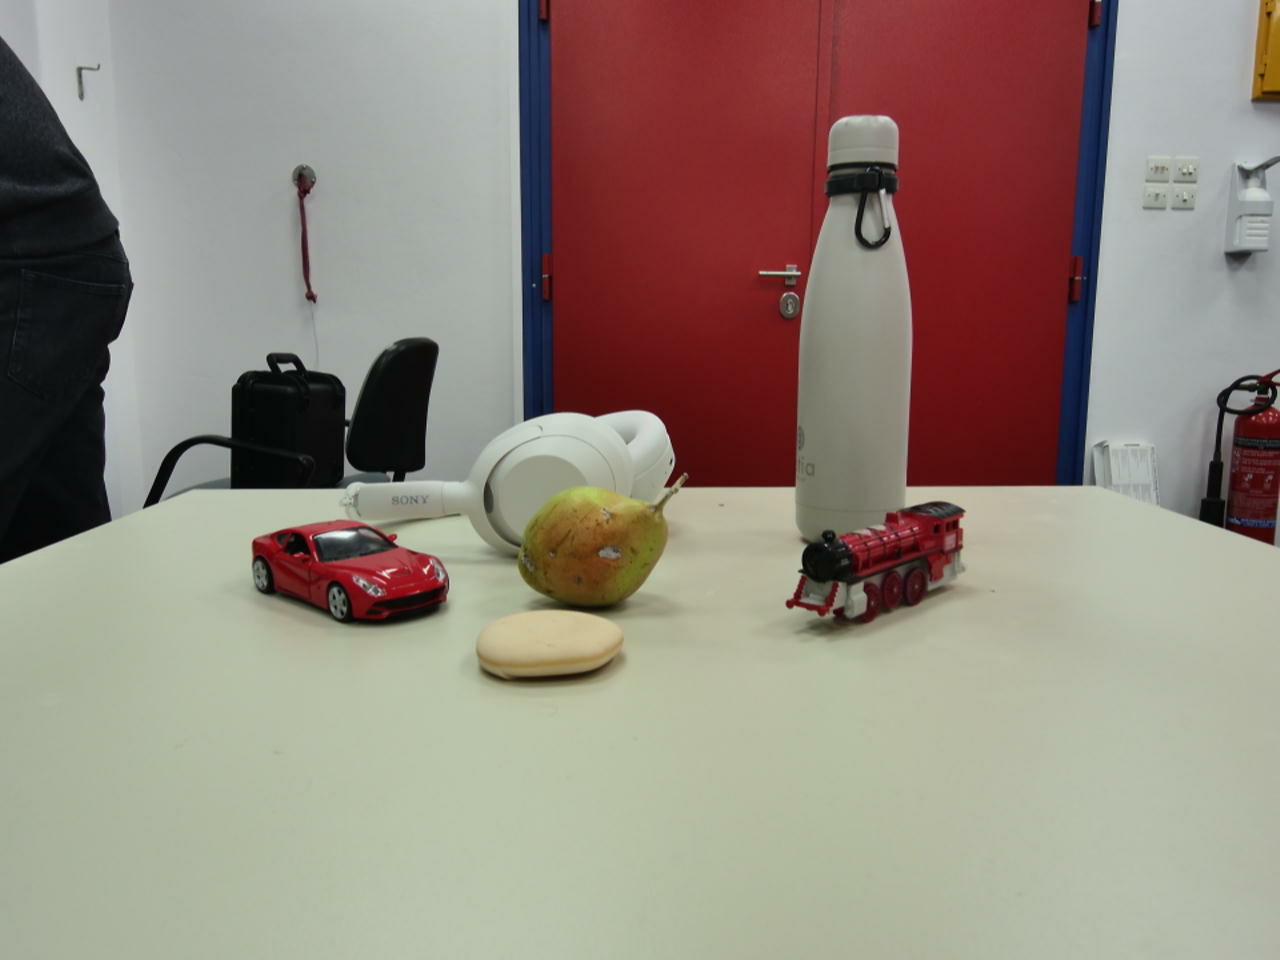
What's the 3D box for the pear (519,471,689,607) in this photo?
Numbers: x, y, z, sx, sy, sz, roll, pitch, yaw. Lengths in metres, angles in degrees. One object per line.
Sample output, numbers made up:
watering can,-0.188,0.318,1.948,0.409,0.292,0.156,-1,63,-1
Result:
pear,-0.023,0.031,0.517,0.068,0.069,0.070,-5,8,-39
